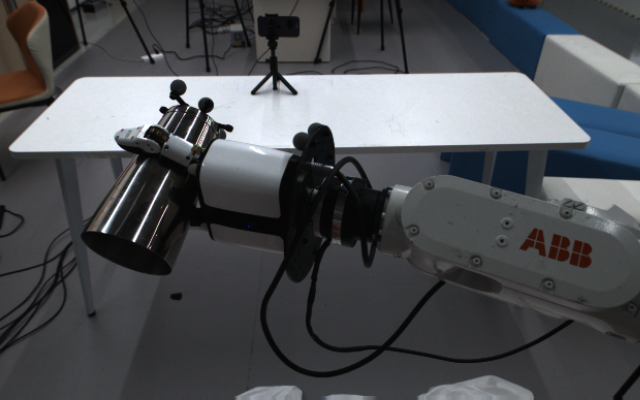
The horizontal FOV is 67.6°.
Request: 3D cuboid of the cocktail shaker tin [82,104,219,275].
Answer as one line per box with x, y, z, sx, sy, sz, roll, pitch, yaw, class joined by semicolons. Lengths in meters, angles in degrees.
-0.167;-0.015;0.513;0.093;0.093;0.170;10;60;12;cocktail shaker tin
